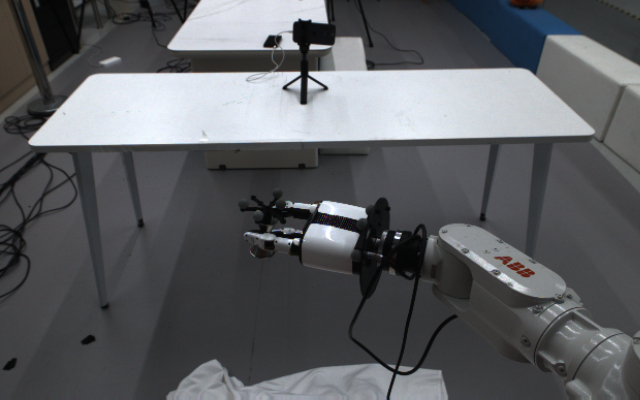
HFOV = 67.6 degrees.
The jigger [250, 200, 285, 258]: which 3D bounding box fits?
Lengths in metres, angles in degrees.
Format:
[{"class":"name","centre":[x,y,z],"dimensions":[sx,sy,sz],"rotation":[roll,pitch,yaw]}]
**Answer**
[{"class":"jigger","centre":[-0.094,0.058,0.809],"dimensions":[0.043,0.071,0.043],"rotation":[9,31,-5]}]
